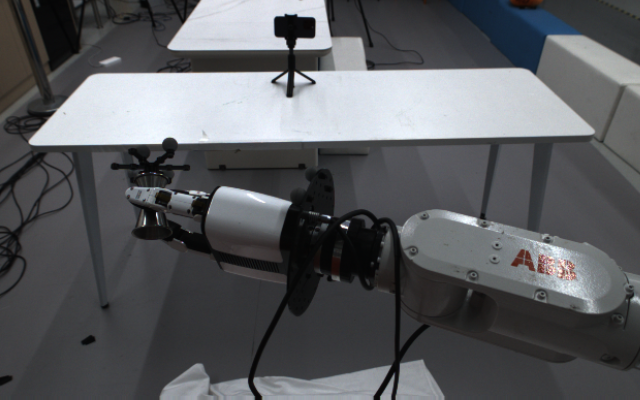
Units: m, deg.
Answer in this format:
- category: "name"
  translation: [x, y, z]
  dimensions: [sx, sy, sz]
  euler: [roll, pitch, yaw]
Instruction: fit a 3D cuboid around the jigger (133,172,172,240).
- category: "jigger"
  translation: [-0.194, 0.008, 0.561]
  dimensions: [0.043, 0.043, 0.071]
  euler: [-5, 67, -10]
